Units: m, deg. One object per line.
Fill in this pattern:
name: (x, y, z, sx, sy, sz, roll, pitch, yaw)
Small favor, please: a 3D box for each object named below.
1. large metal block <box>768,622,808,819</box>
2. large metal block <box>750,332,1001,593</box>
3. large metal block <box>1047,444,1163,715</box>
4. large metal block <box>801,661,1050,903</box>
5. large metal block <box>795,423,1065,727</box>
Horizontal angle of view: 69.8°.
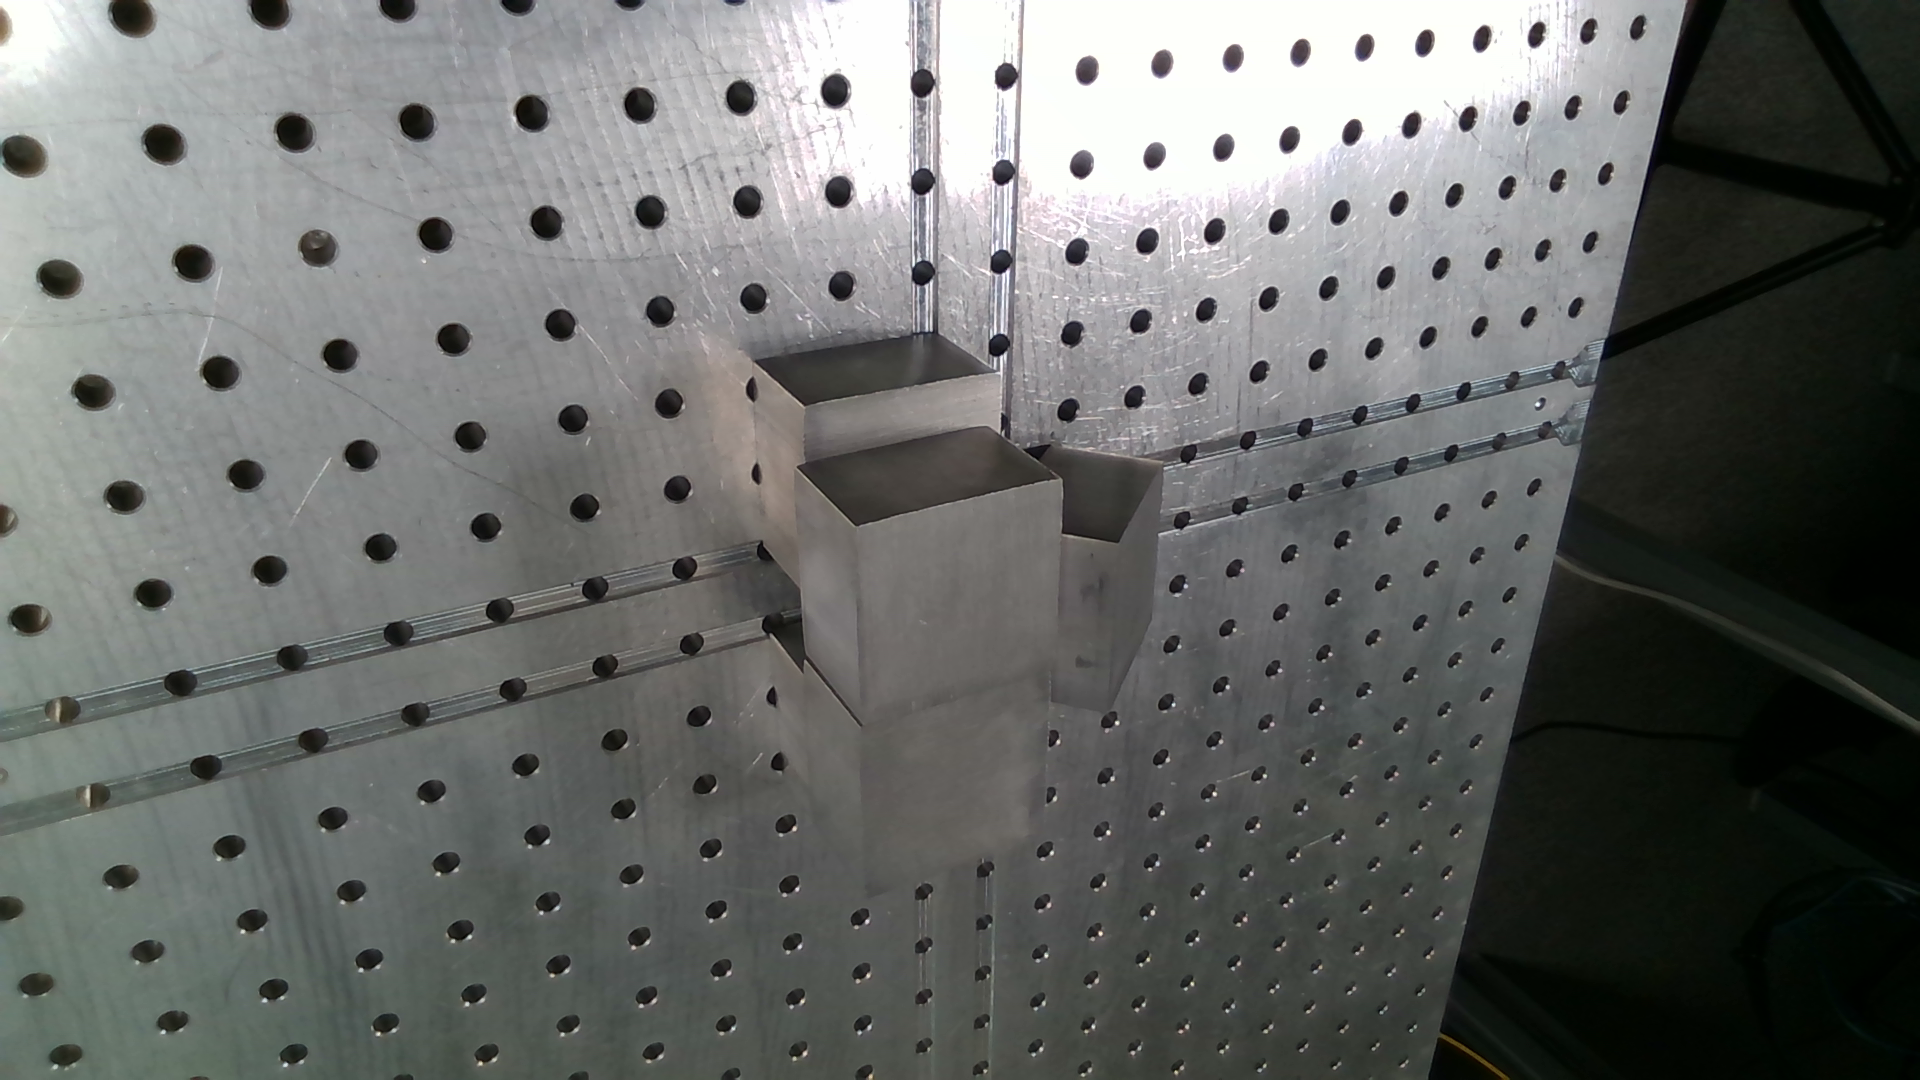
large metal block: (-0.032, 0.073, 0.587, 0.080, 0.050, 0.080, -15, 122, -24)
large metal block: (-0.033, -0.030, 0.532, 0.080, 0.050, 0.080, -13, 121, -25)
large metal block: (0.050, 0.014, 0.579, 0.080, 0.050, 0.080, -53, 148, -56)
large metal block: (-0.013, 0.083, 0.537, 0.080, 0.050, 0.080, -15, 122, -25)
large metal block: (-0.011, 0.011, 0.499, 0.080, 0.050, 0.080, -15, 122, -25)
